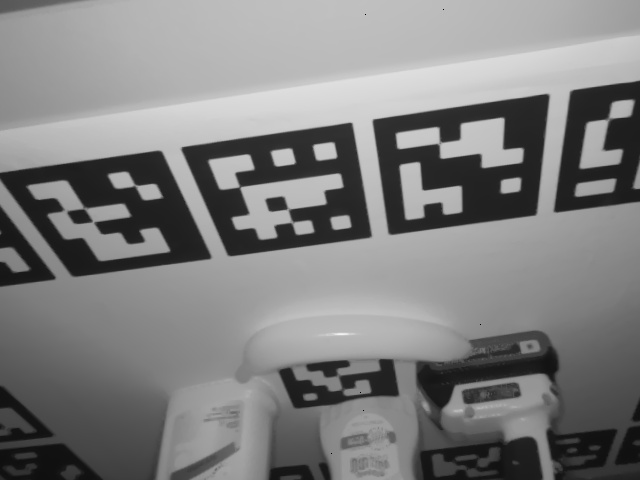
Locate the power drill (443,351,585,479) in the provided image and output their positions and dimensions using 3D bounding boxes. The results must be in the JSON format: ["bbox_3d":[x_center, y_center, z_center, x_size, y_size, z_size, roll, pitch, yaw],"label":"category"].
[{"bbox_3d":[0.144,0.184,0.531,0.184,0.188,0.057,-7,140,8],"label":"power drill"}]

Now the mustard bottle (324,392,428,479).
[{"bbox_3d":[0.052,0.225,0.592,0.096,0.193,0.058,-5,134,5],"label":"mustard bottle"}]

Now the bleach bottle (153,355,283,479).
[{"bbox_3d":[-0.085,0.213,0.546,0.102,0.253,0.067,-12,131,11],"label":"bleach bottle"}]

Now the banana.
[{"bbox_3d":[0.026,0.073,0.550,0.197,0.039,0.073,-5,129,0],"label":"banana"}]
